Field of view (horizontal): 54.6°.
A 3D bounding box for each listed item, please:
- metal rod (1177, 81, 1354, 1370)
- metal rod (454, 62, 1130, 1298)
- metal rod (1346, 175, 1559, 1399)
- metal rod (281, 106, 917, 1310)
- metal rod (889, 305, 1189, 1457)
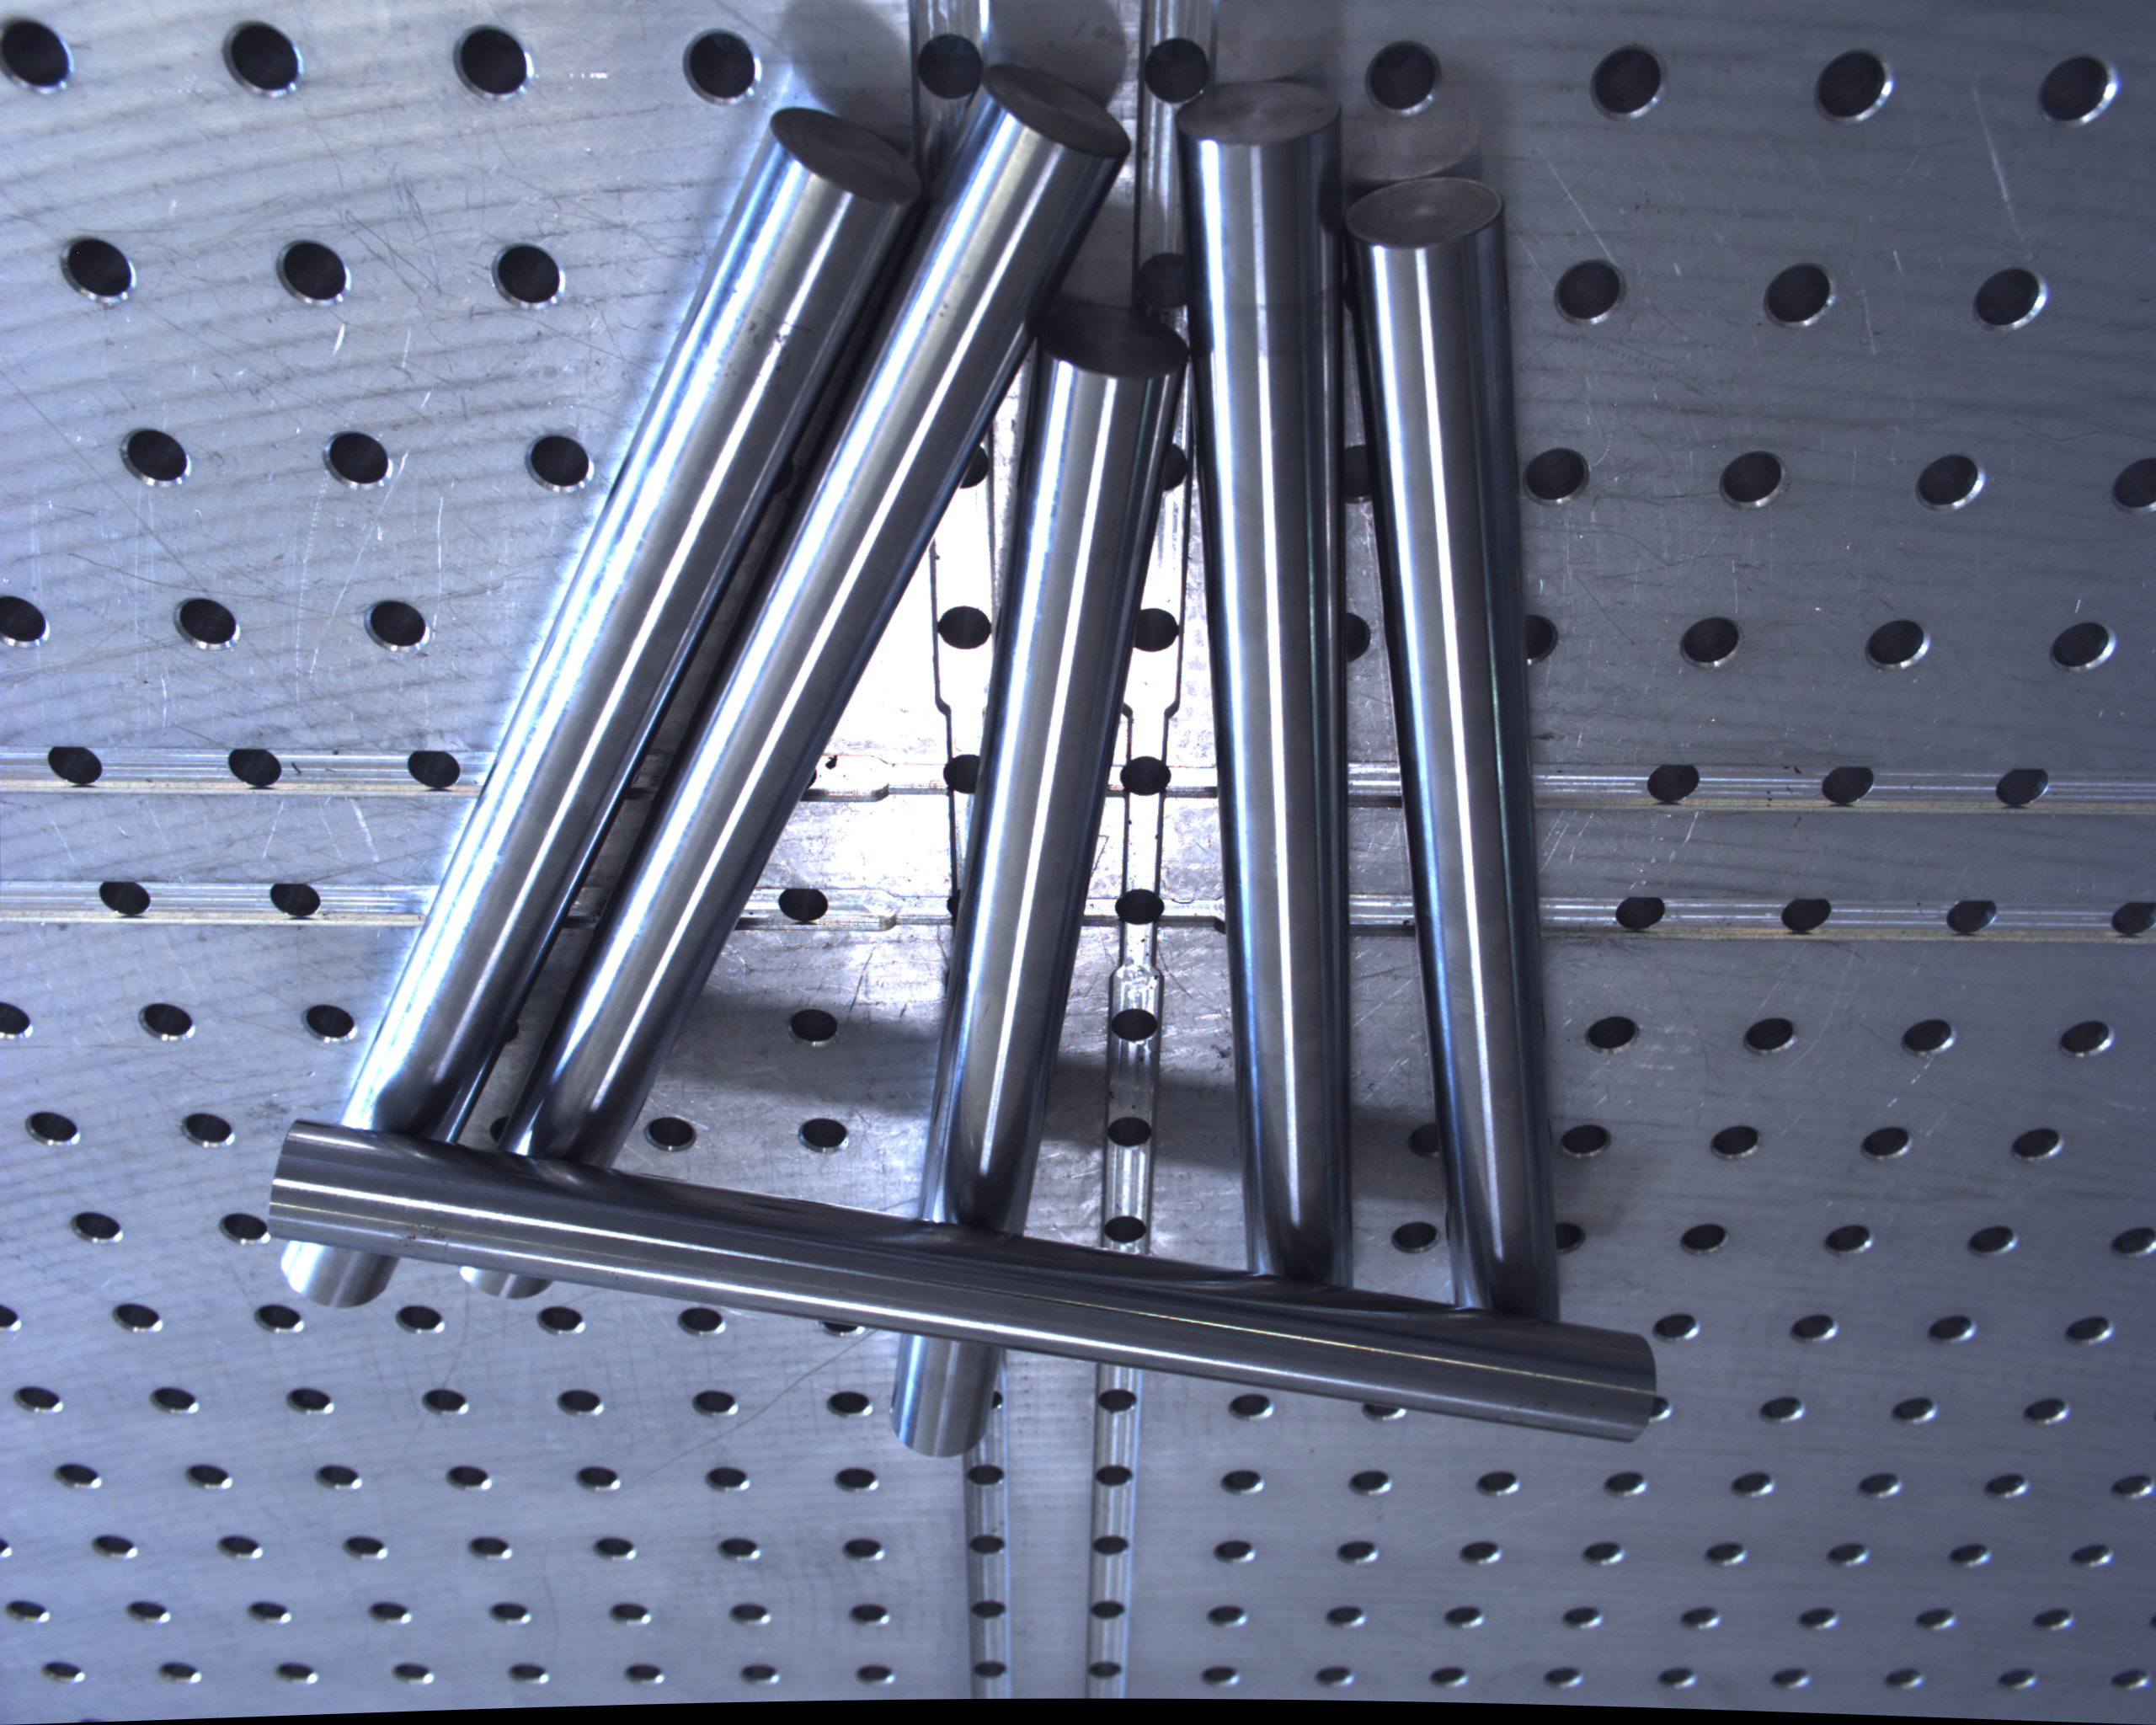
[{"bbox_3d":[0.041,0.000,0.412,0.025,0.025,0.298,-4,130,3],"label":"metal rod"},{"bbox_3d":[-0.068,-0.011,0.402,0.025,0.025,0.298,20,127,-16],"label":"metal rod"},{"bbox_3d":[0.080,0.010,0.420,0.025,0.025,0.299,-8,130,6],"label":"metal rod"},{"bbox_3d":[-0.105,-0.007,0.404,0.025,0.025,0.298,22,127,-17],"label":"metal rod"},{"bbox_3d":[-0.015,0.028,0.435,0.025,0.025,0.298,6,130,-5],"label":"metal rod"}]
